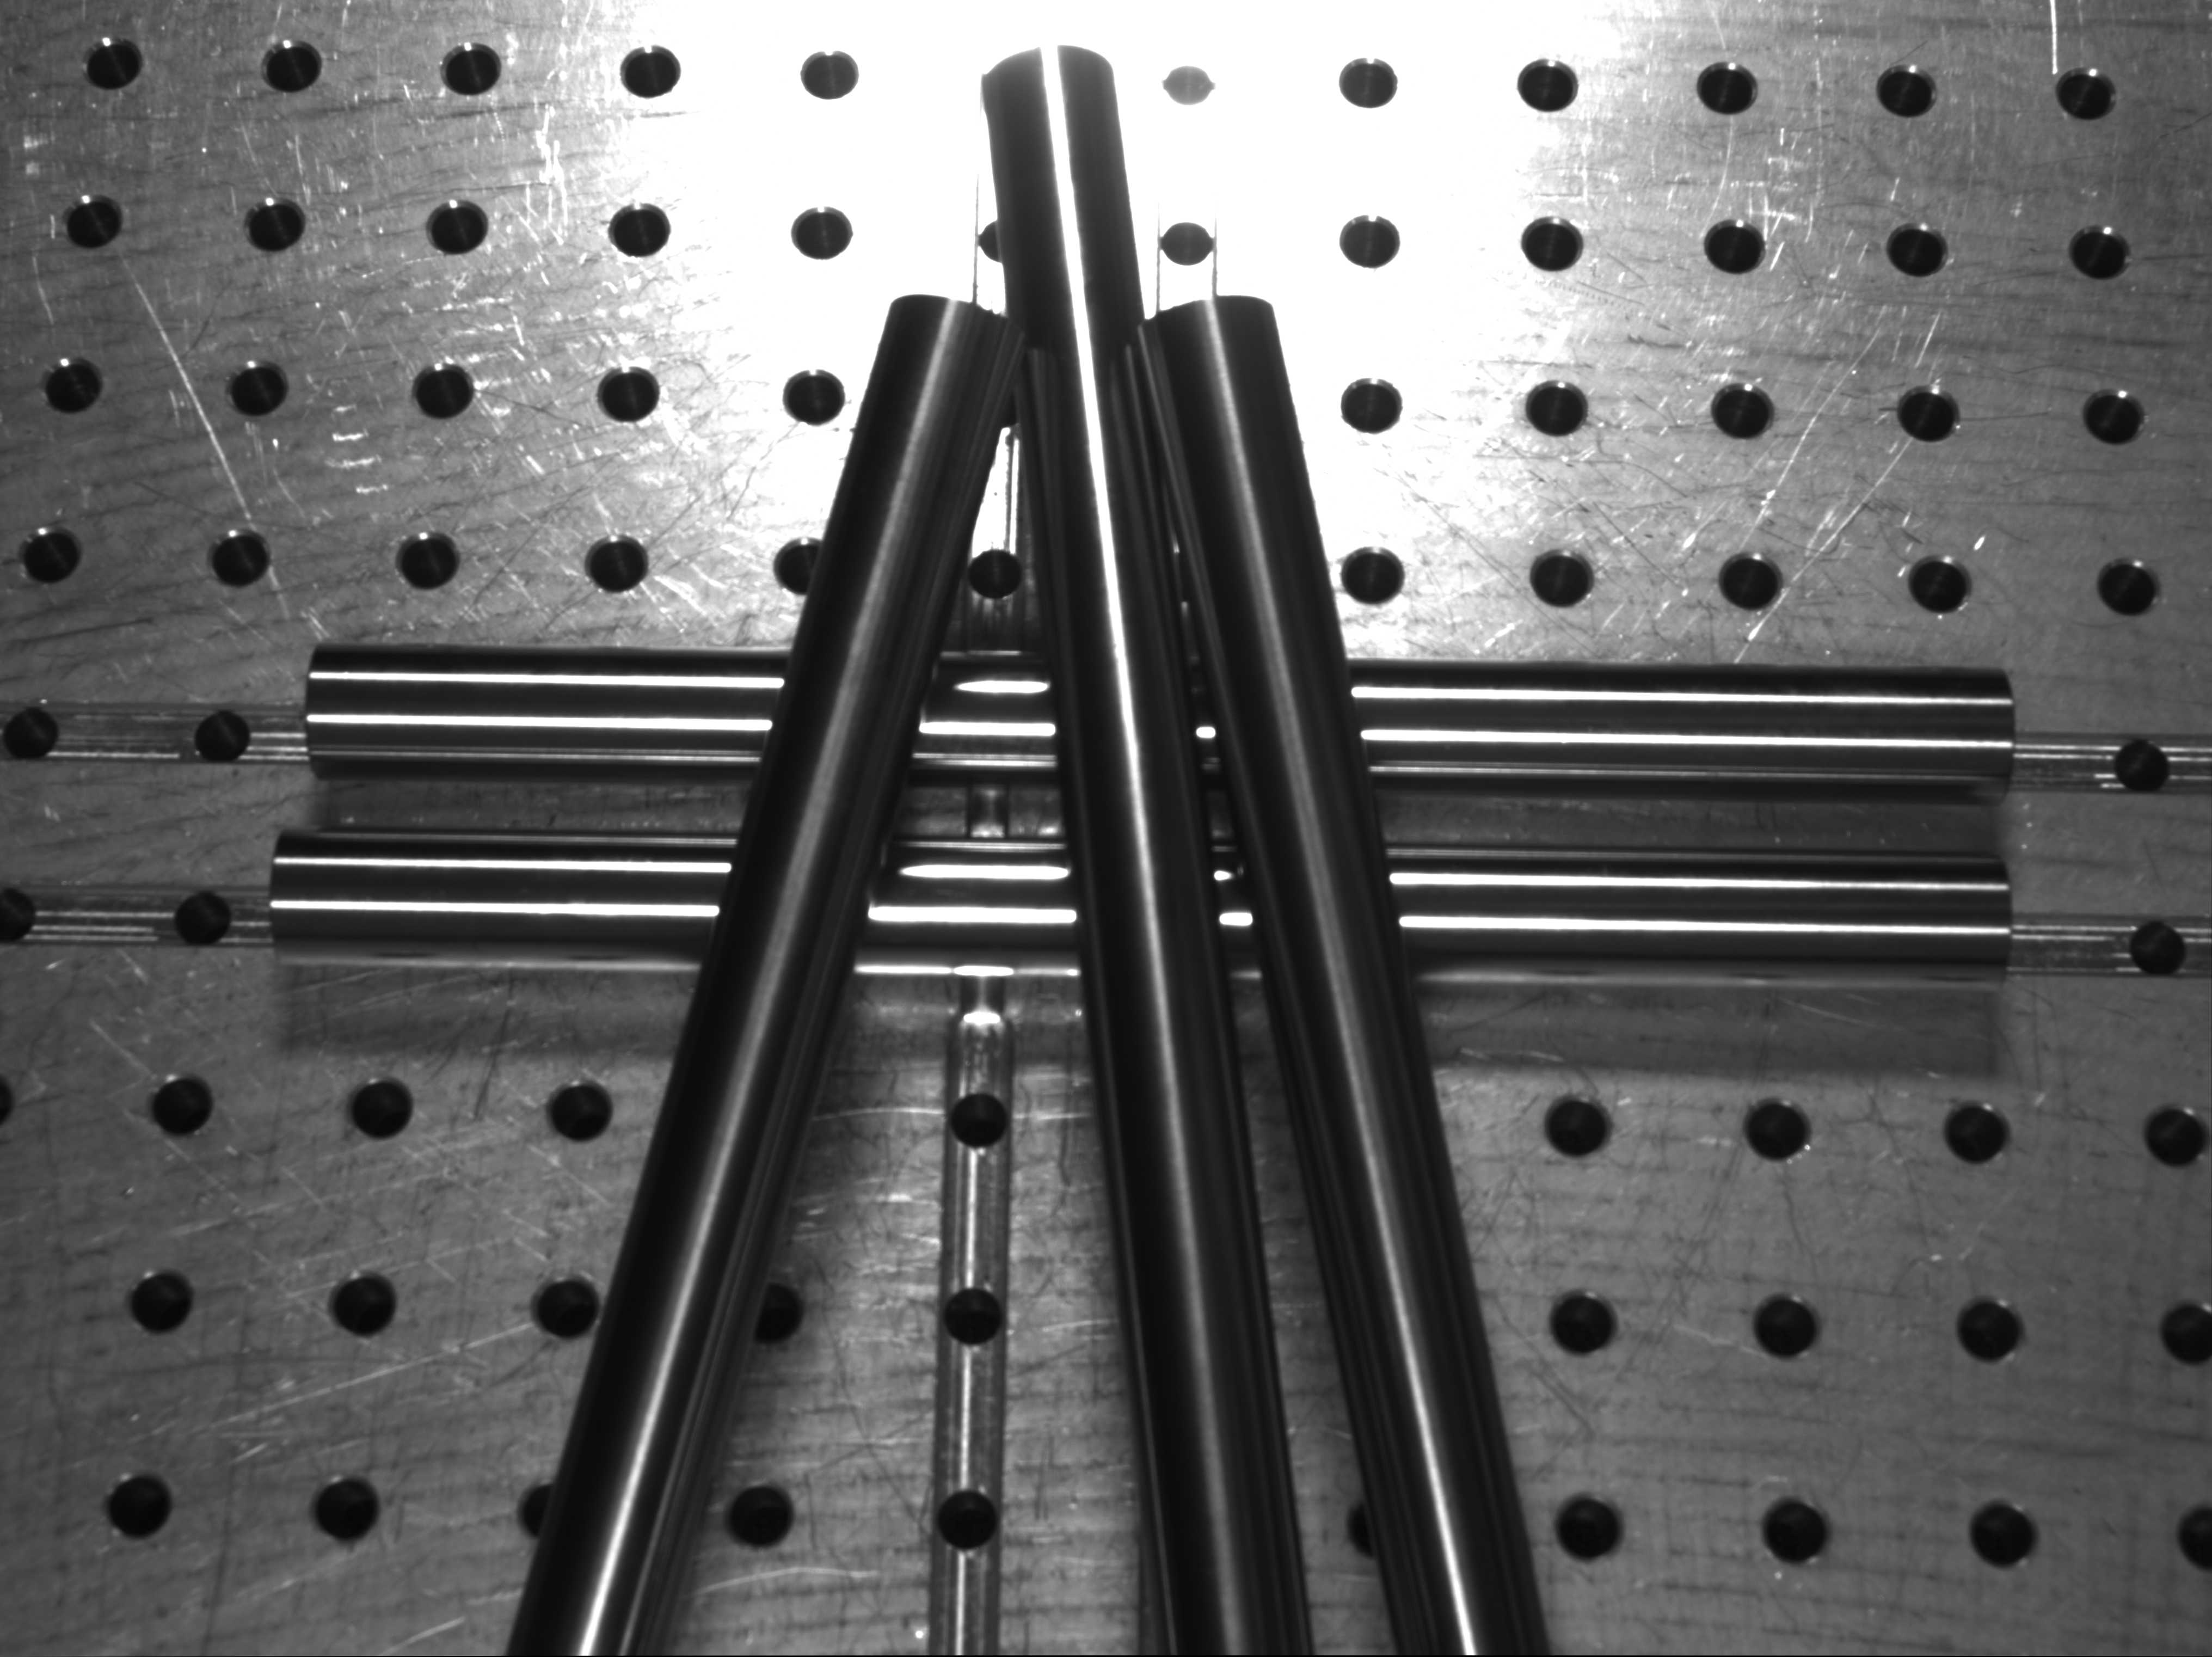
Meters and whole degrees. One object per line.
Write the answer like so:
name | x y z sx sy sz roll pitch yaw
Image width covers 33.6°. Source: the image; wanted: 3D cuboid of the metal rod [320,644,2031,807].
metal rod | 0.012 -0.018 0.654 0.300 0.025 0.025 1 70 0

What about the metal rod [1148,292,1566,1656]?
metal rod | 0.047 0.055 0.607 0.025 0.025 0.300 -10 77 -4

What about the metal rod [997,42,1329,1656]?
metal rod | 0.008 0.003 0.620 0.025 0.025 0.300 -6 70 -2

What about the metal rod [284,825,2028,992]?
metal rod | 0.009 0.014 0.643 0.300 0.025 0.025 1 70 0

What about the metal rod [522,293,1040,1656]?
metal rod | -0.060 0.053 0.608 0.025 0.025 0.300 13 77 5
